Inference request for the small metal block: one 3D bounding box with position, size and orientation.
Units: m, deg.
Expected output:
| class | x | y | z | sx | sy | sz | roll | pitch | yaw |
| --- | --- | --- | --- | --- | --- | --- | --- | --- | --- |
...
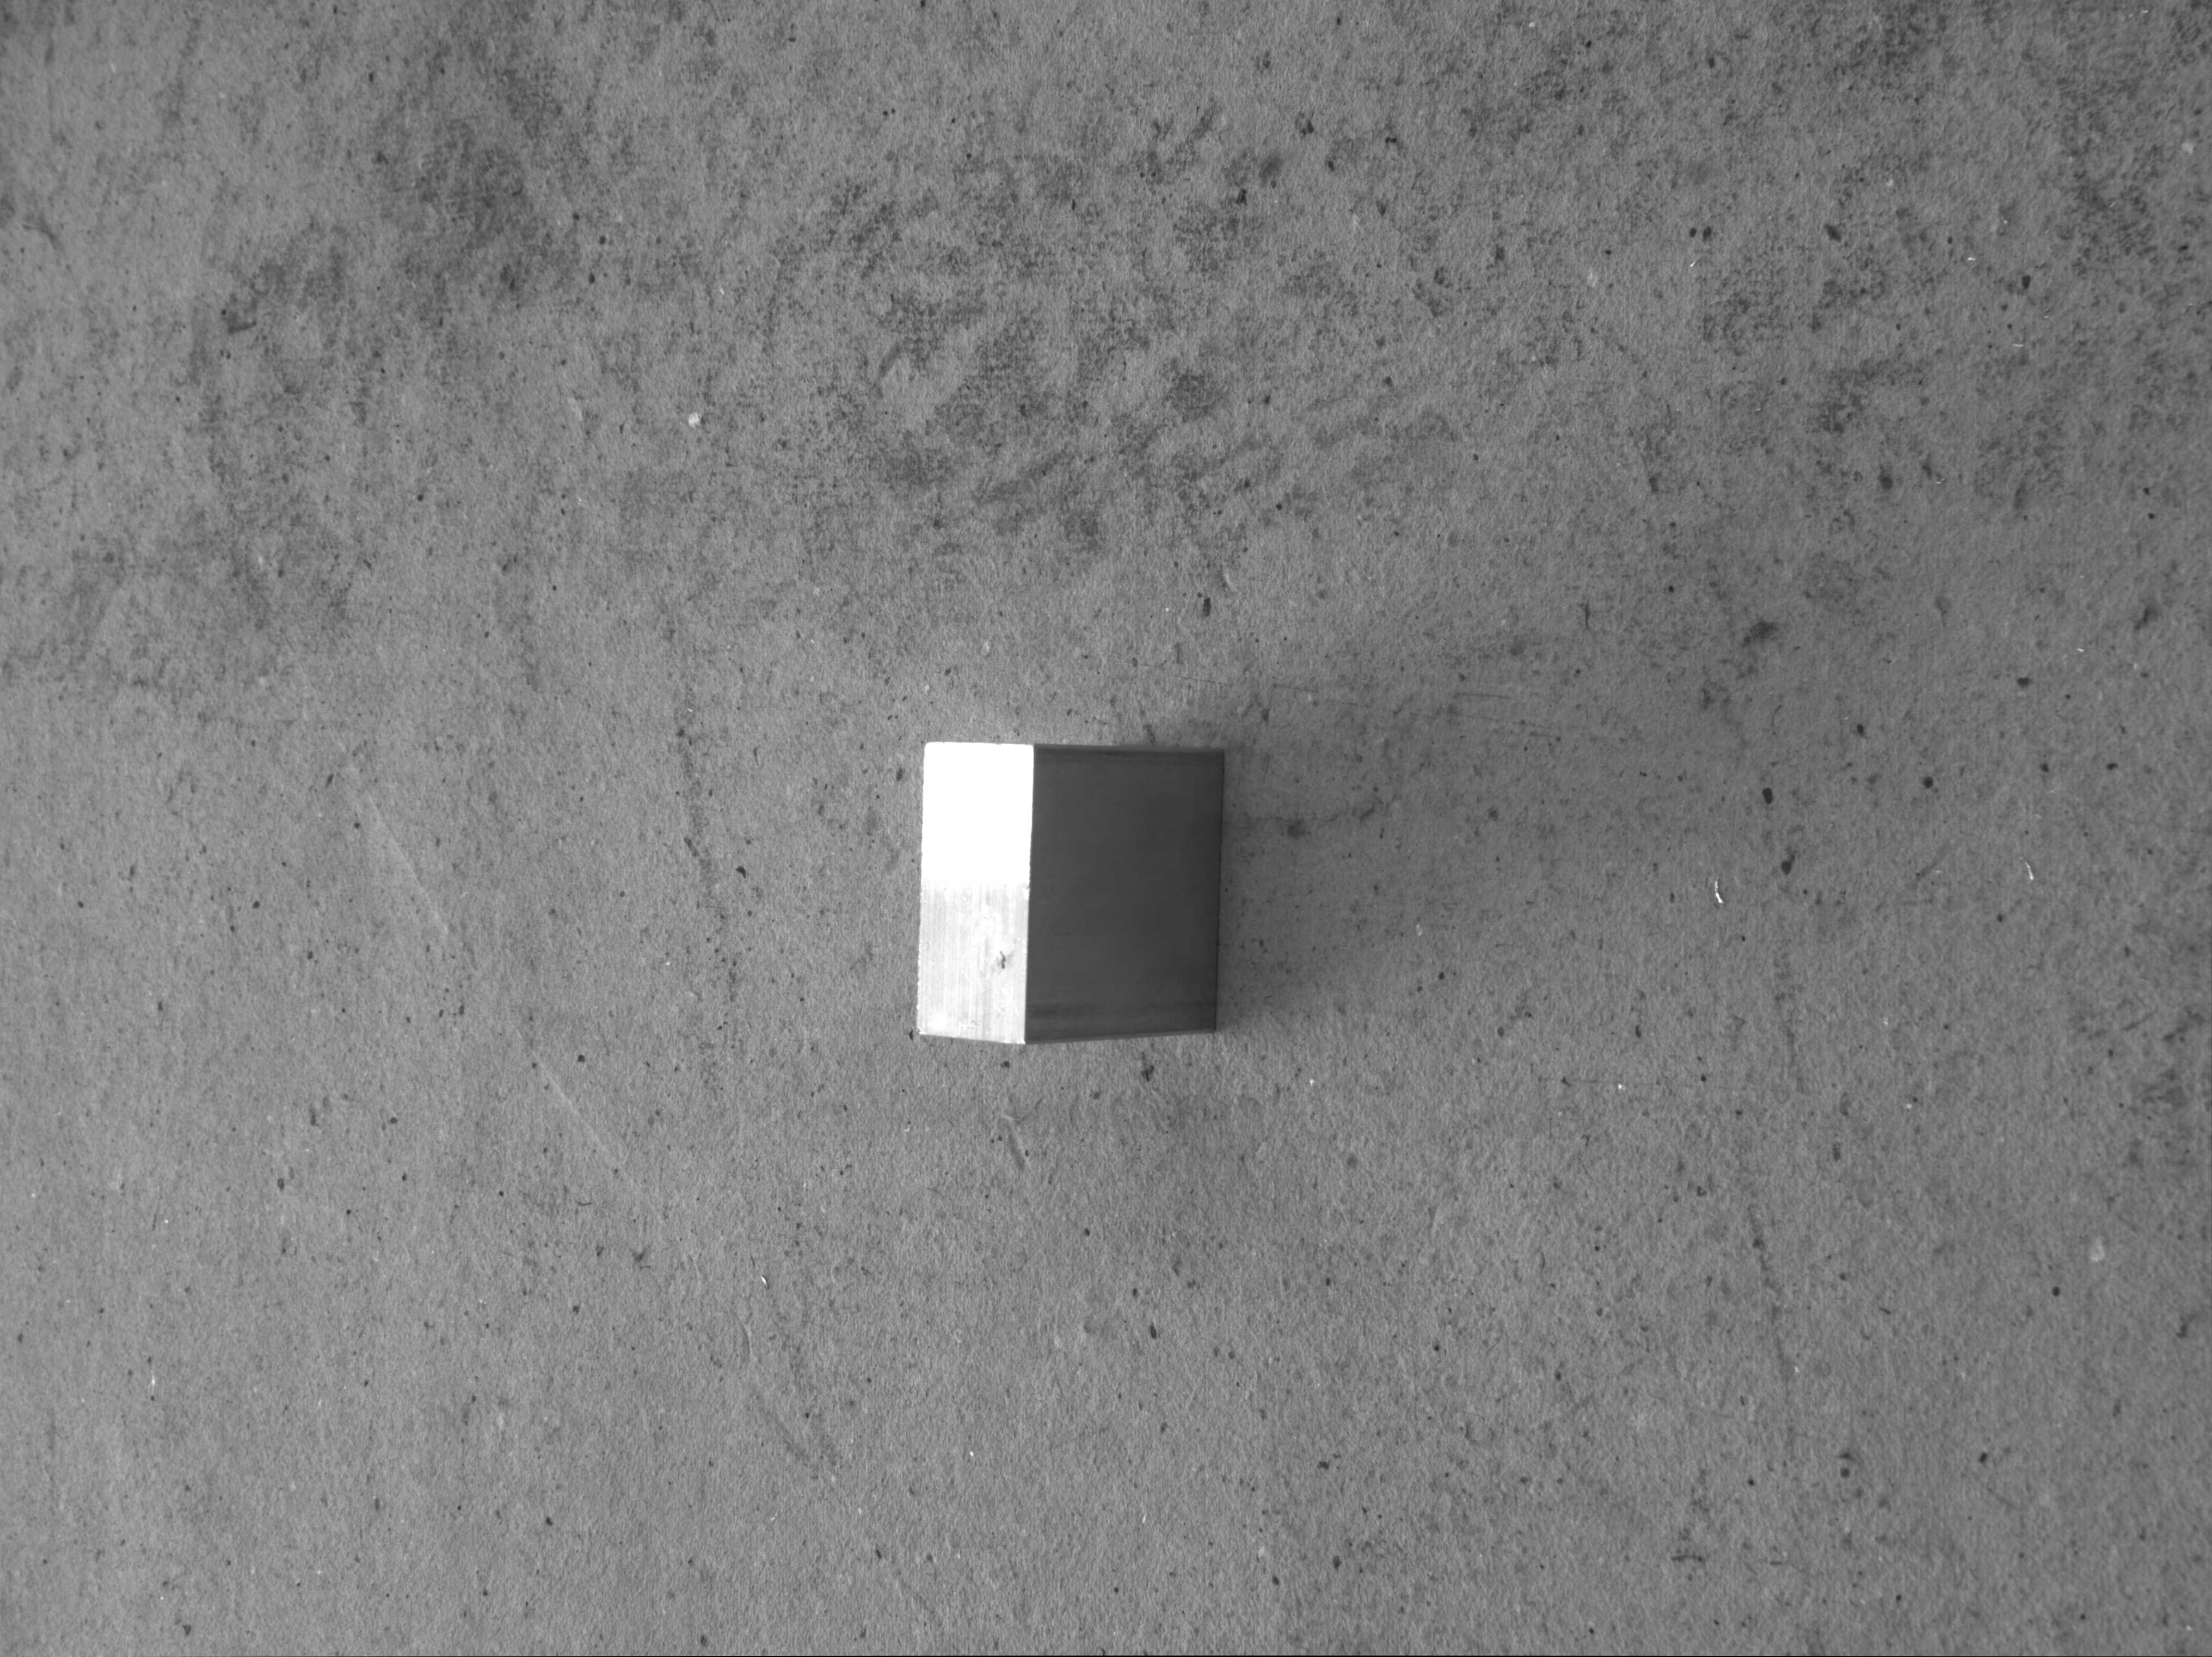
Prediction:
| class | x | y | z | sx | sy | sz | roll | pitch | yaw |
| --- | --- | --- | --- | --- | --- | --- | --- | --- | --- |
| small metal block | -0.006 | 0.011 | 0.635 | 0.025 | 0.050 | 0.050 | 3 | 92 | 39 |
